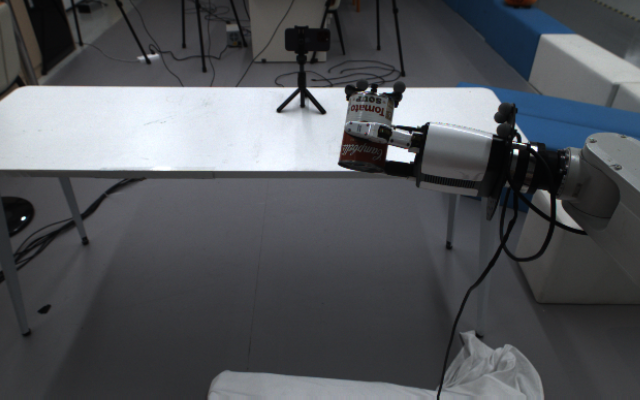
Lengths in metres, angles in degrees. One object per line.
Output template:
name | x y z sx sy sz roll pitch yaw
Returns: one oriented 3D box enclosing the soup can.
soup can | 0.067 -0.097 0.692 0.067 0.101 0.067 9 -5 1
